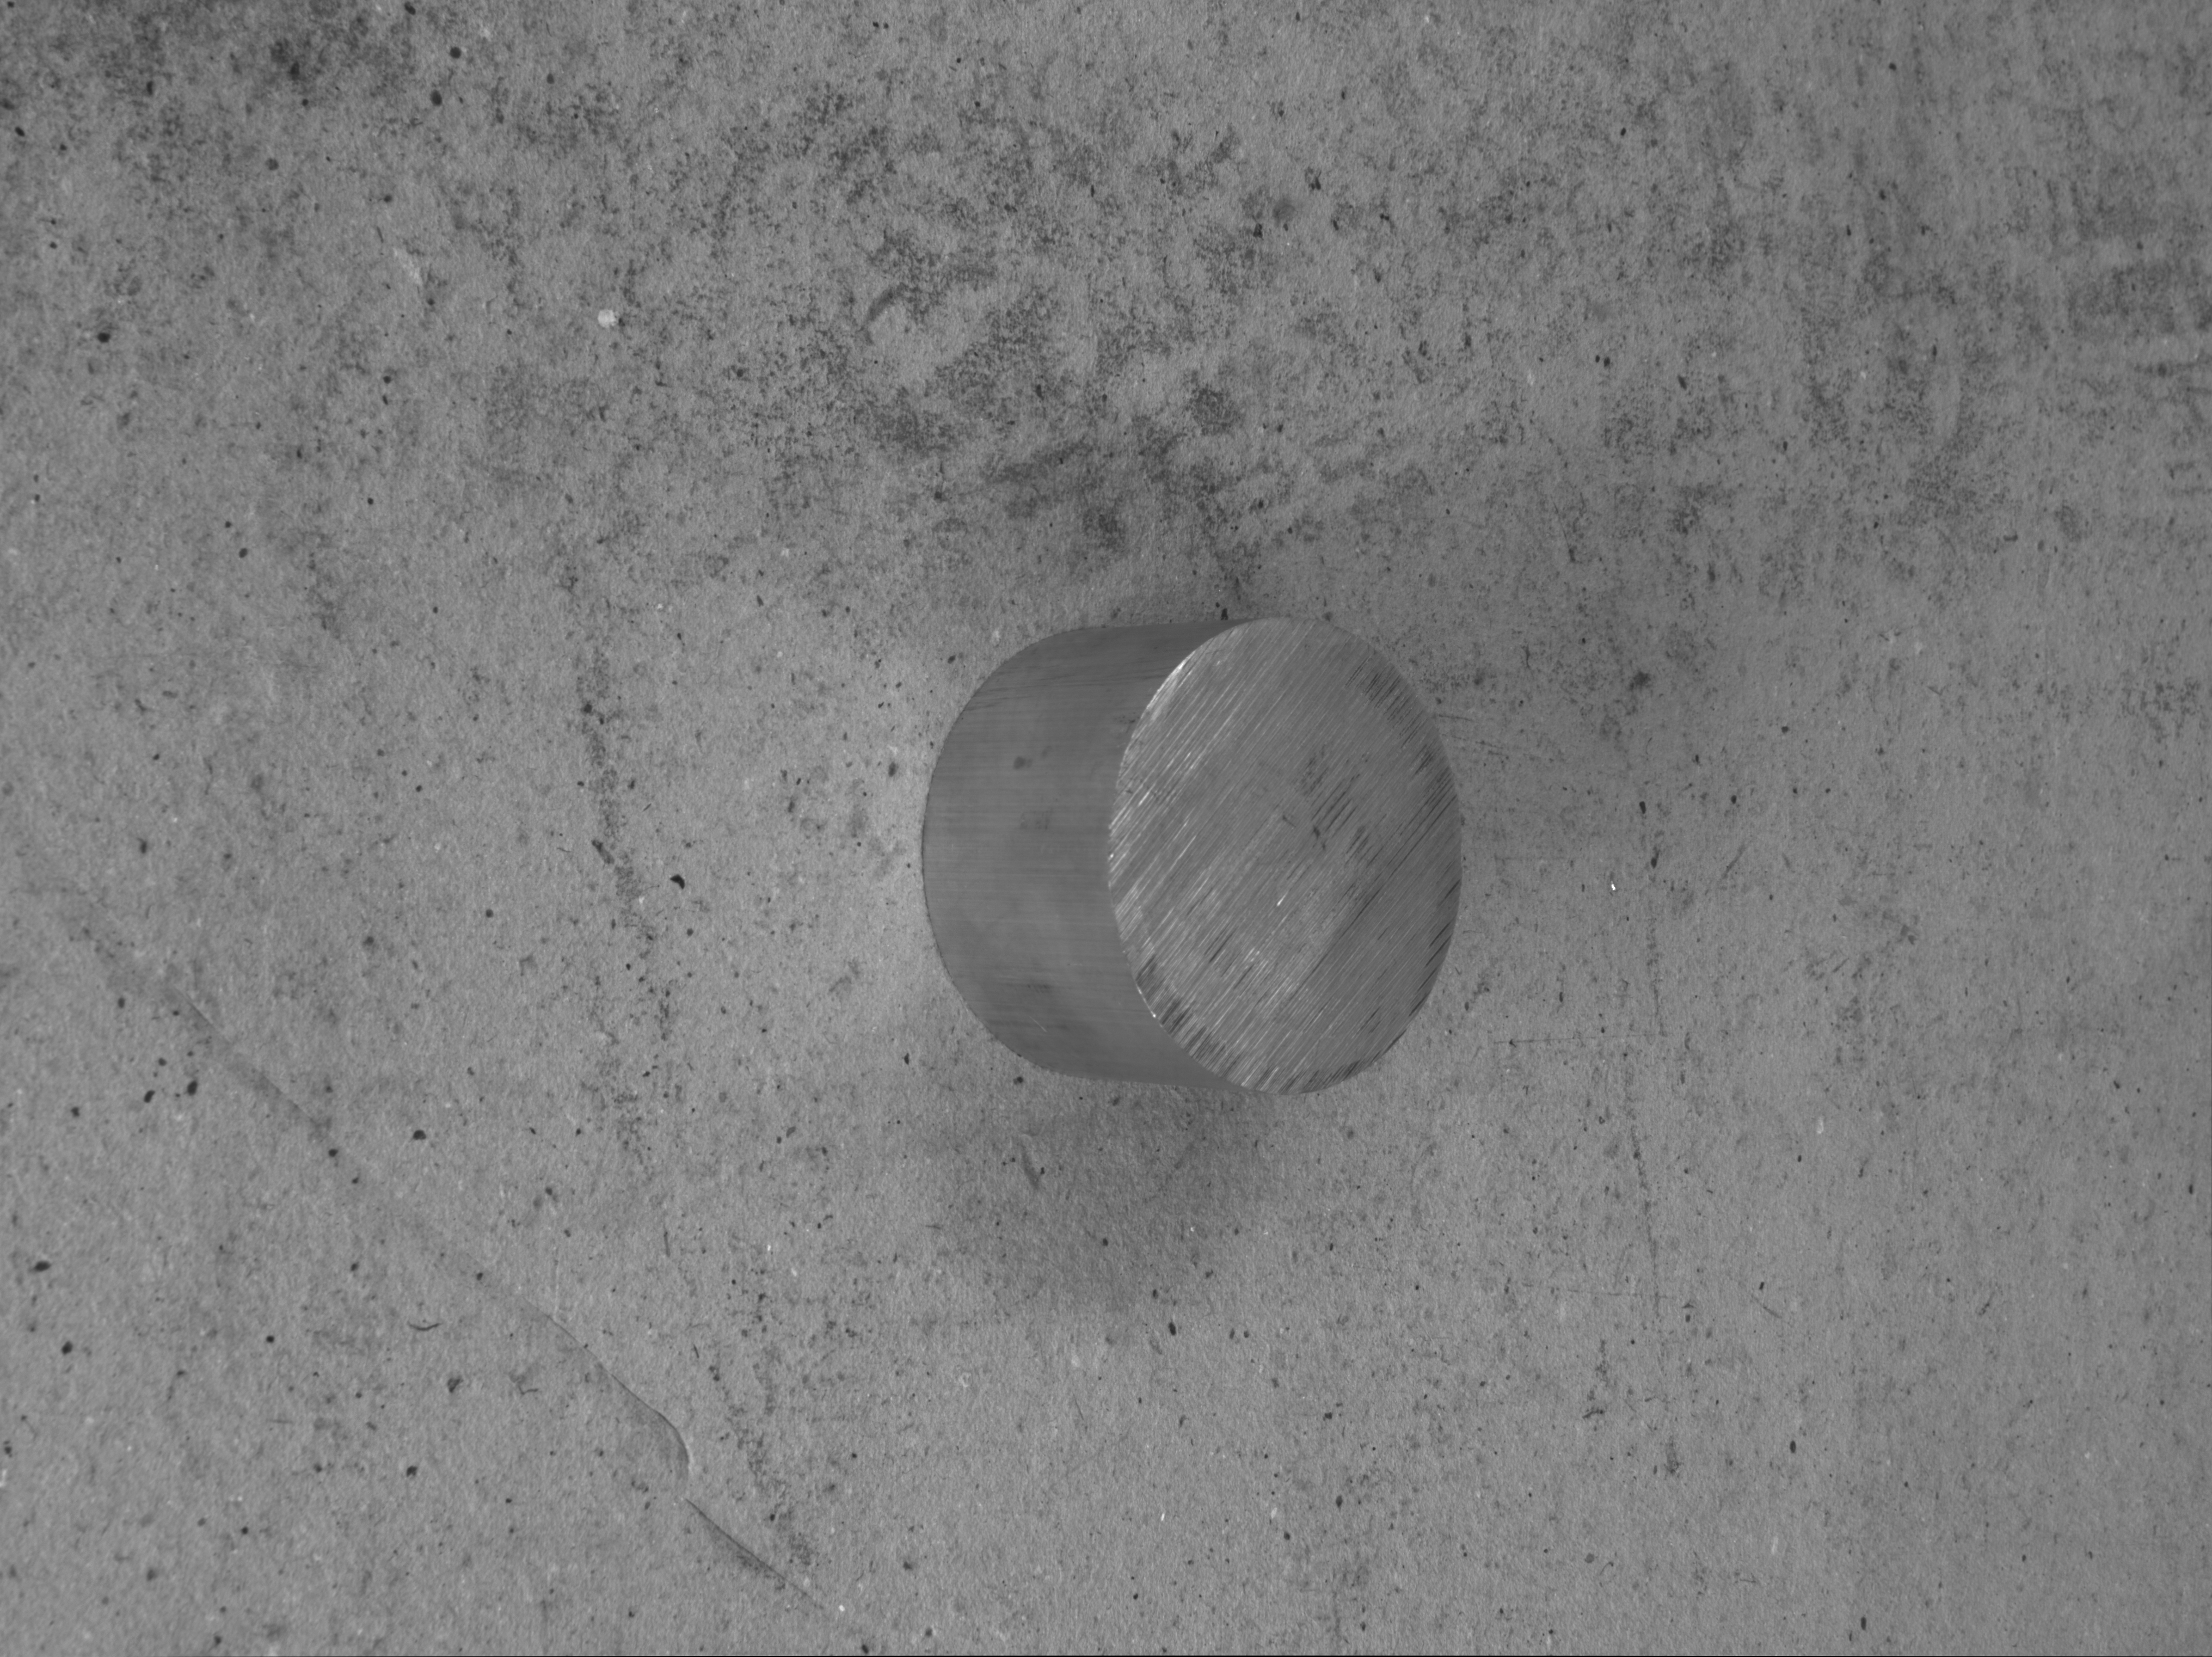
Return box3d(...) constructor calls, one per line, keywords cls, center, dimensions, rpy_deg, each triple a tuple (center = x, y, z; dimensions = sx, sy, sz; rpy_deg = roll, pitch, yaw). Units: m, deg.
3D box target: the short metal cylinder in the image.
box3d(cls="short metal cylinder", center=(0.015, 0.005, 0.633), dimensions=(0.080, 0.050, 0.080), rpy_deg=(0, 90, -41))
